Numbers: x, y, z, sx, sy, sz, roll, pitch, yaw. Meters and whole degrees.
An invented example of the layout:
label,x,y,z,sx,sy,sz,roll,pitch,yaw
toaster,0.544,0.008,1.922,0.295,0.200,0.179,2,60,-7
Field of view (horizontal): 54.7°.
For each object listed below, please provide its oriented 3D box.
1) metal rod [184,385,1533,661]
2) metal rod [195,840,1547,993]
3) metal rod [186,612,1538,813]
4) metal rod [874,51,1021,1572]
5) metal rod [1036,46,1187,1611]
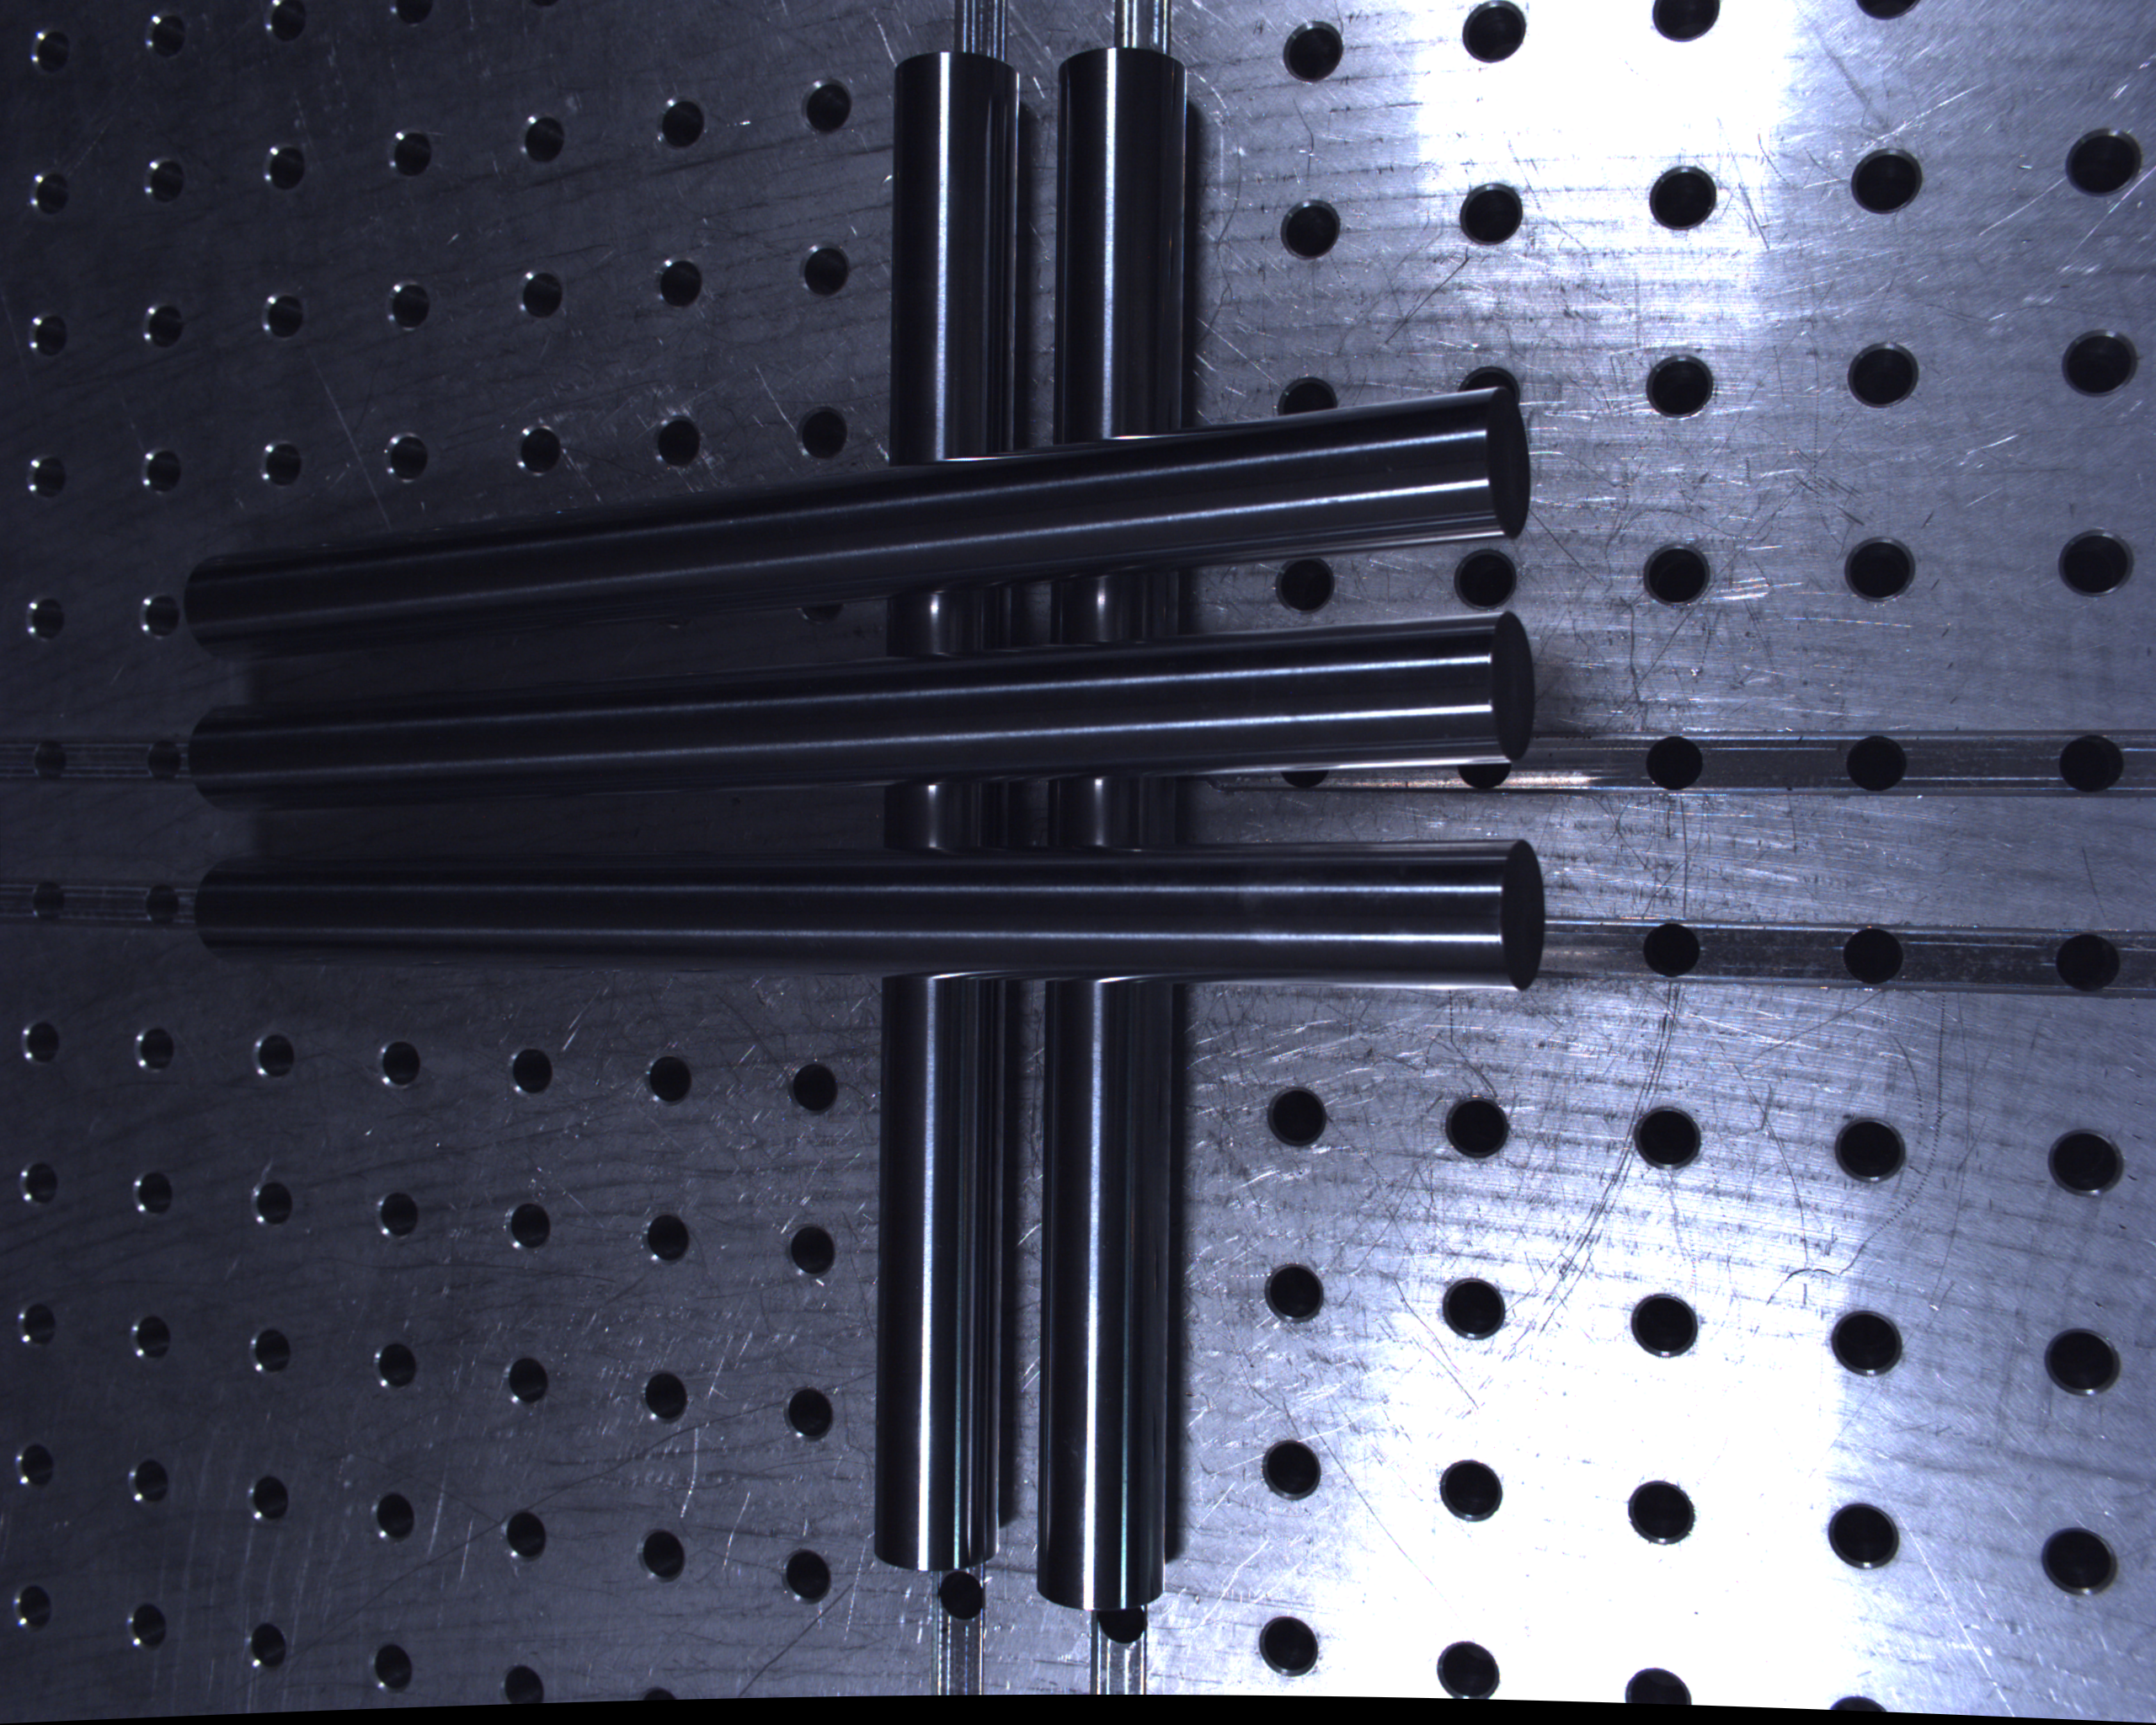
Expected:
label,x,y,z,sx,sy,sz,roll,pitch,yaw
metal rod,-0.062,-0.062,0.411,0.300,0.025,0.025,-2,90,27
metal rod,-0.060,0.010,0.410,0.300,0.025,0.025,0,90,28
metal rod,-0.061,-0.026,0.411,0.300,0.025,0.025,-1,90,27
metal rod,-0.026,-0.010,0.421,0.025,0.025,0.298,1,90,19
metal rod,0.007,-0.006,0.410,0.025,0.025,0.298,1,90,19
